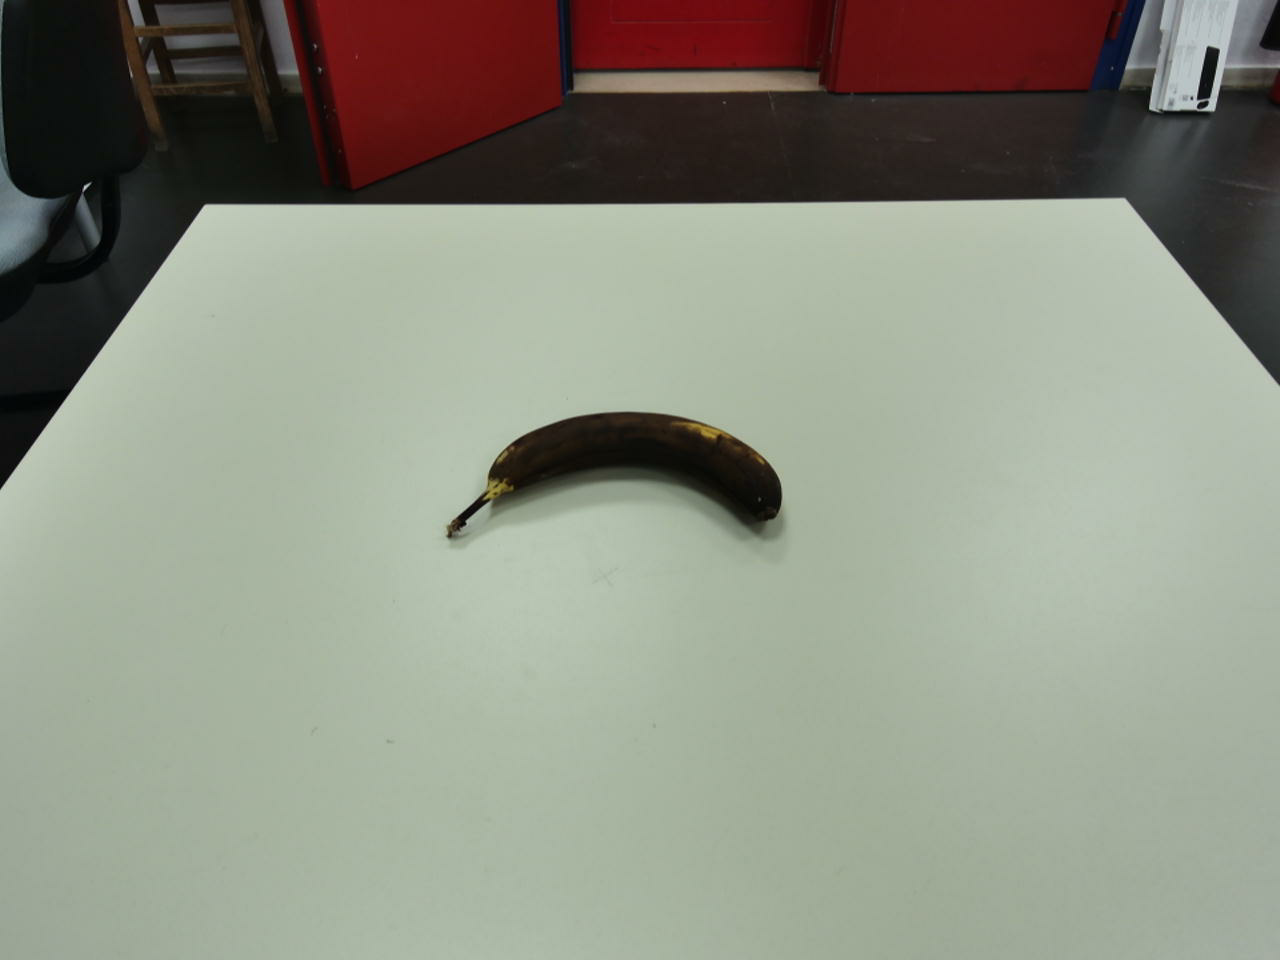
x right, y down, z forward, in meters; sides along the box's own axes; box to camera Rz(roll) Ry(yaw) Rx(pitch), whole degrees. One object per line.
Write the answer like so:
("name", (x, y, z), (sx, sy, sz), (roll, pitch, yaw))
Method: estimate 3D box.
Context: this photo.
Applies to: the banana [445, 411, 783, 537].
("banana", (-0.013, -0.009, 0.583), (0.188, 0.034, 0.091), (0, 39, 1))
